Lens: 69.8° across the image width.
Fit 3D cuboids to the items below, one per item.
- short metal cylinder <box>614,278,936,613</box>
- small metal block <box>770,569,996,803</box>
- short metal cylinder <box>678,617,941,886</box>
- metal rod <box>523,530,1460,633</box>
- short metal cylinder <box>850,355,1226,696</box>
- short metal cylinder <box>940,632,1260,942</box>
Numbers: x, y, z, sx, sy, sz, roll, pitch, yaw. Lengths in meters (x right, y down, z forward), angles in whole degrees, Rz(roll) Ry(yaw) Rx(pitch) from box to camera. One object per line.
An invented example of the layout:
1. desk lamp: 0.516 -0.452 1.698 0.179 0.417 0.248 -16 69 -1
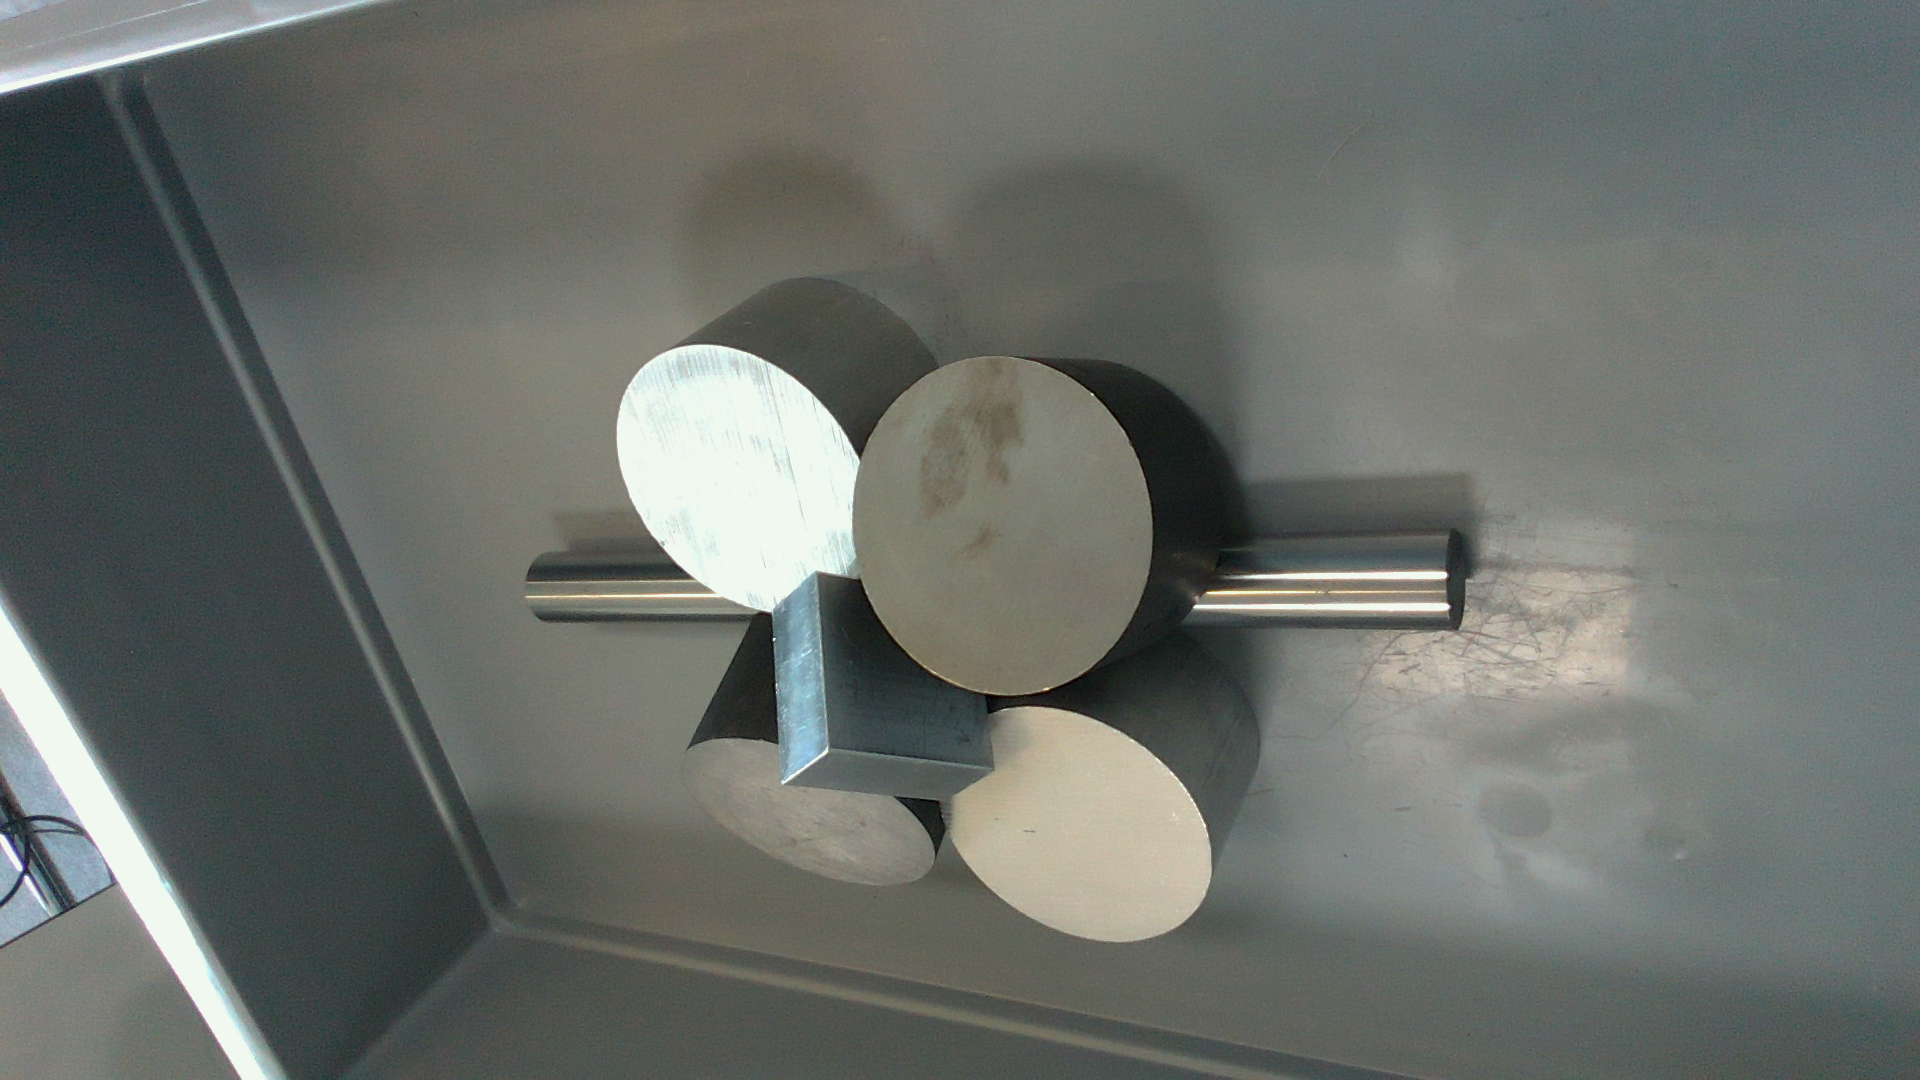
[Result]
1. short metal cylinder: -0.048 -0.026 0.385 0.080 0.050 0.080 13 124 21
2. small metal block: -0.021 0.040 0.365 0.050 0.050 0.025 13 146 -32
3. short metal cylinder: -0.038 0.063 0.419 0.080 0.050 0.080 14 143 11
4. metal rod: -0.011 0.013 0.405 0.299 0.025 0.025 -1 118 29
5. short metal cylinder: 0.020 -0.005 0.344 0.080 0.050 0.080 3 97 28
6. short metal cylinder: 0.040 0.067 0.395 0.080 0.050 0.080 13 124 21
